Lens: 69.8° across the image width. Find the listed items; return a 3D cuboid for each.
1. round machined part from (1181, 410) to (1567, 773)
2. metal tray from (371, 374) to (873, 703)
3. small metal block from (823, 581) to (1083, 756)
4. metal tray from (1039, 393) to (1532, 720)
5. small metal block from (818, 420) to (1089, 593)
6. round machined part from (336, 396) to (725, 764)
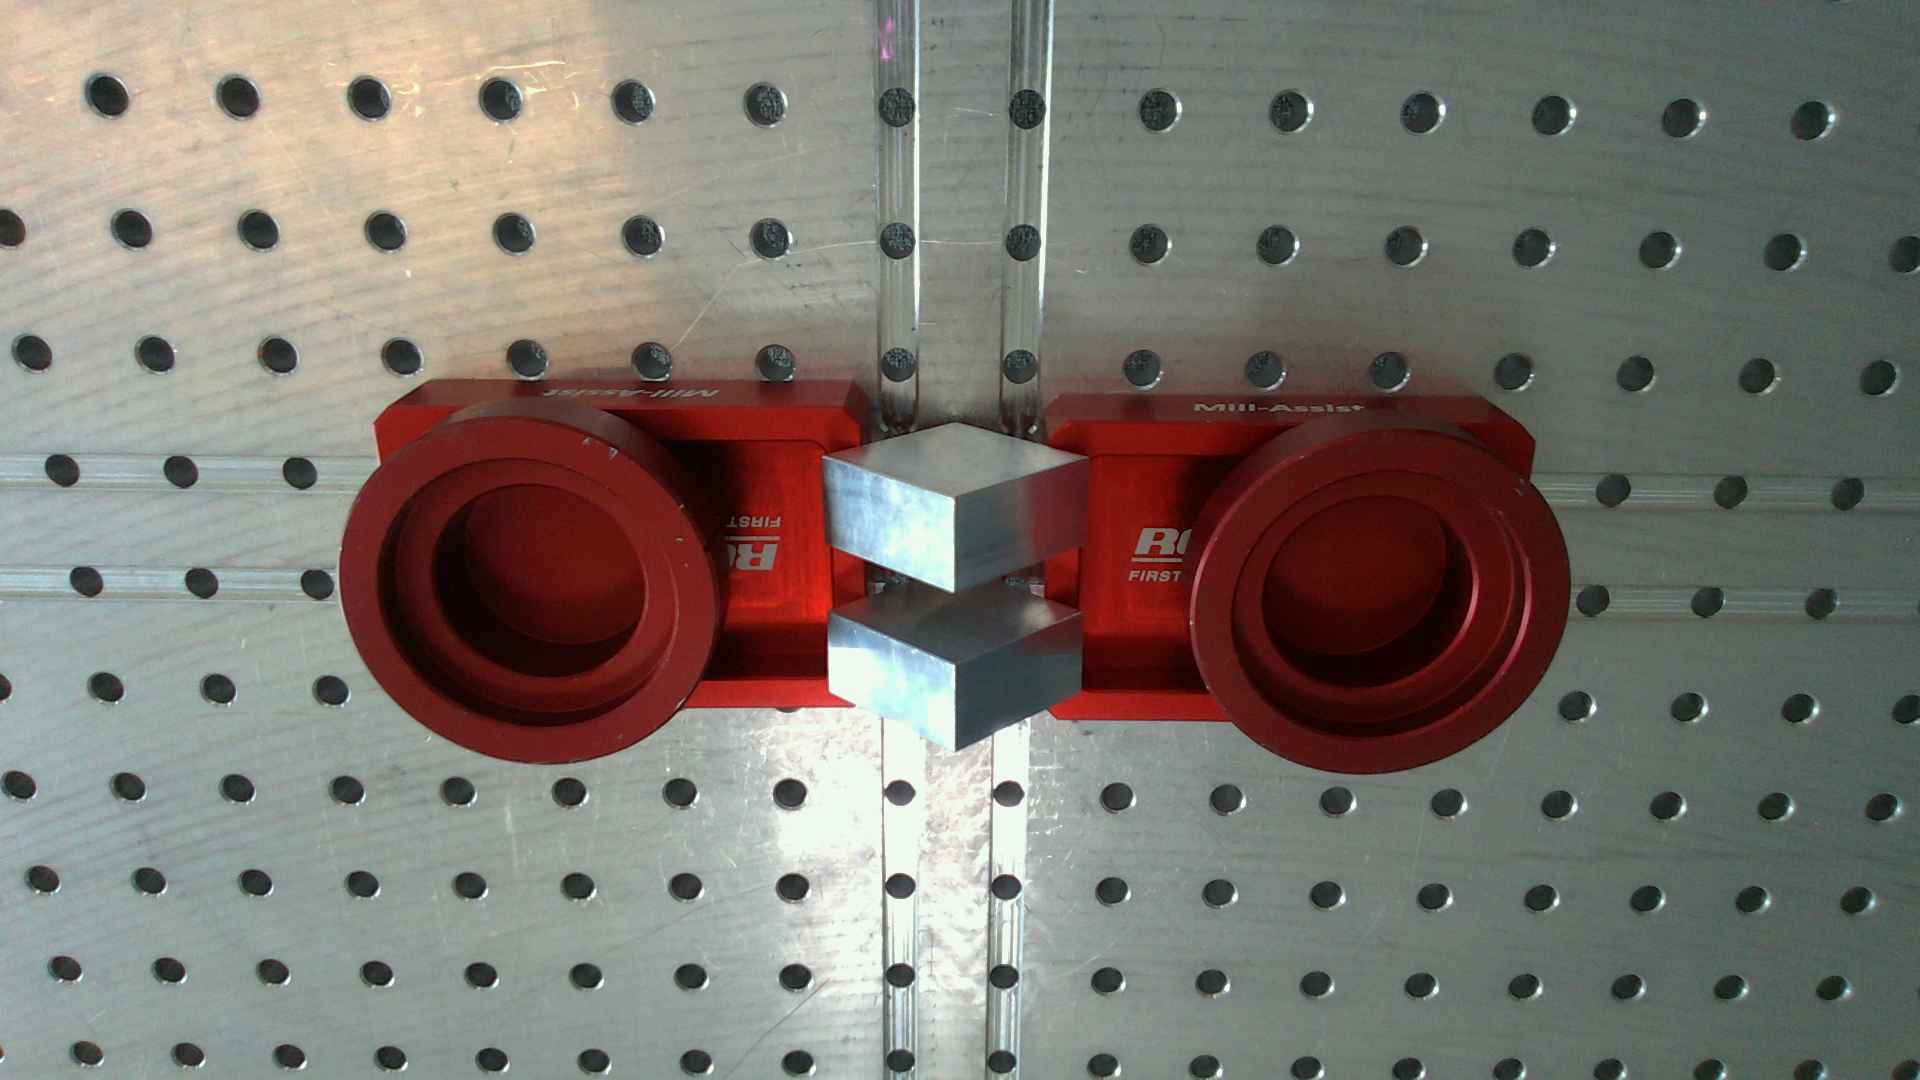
[{"bbox_3d":[0.110,0.011,0.379,0.098,0.042,0.098,0,110,0],"label":"round machined part"},{"bbox_3d":[-0.091,0.000,0.394,0.130,0.030,0.090,-1,112,0],"label":"metal tray"},{"bbox_3d":[-0.002,0.031,0.379,0.050,0.050,0.025,19,117,41],"label":"small metal block"},{"bbox_3d":[0.089,0.005,0.397,0.130,0.030,0.090,0,110,-1],"label":"metal tray"},{"bbox_3d":[-0.002,-0.011,0.364,0.050,0.050,0.025,19,117,41],"label":"small metal block"},{"bbox_3d":[-0.113,0.008,0.376,0.098,0.042,0.098,0,110,0],"label":"round machined part"}]
